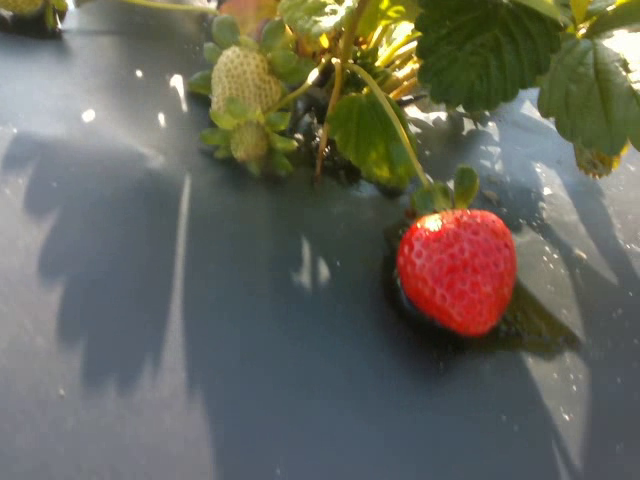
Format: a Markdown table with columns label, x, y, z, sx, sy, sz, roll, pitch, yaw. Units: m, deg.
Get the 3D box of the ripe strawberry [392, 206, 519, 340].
| label | x | y | z | sx | sy | sz | roll | pitch | yaw |
| --- | --- | --- | --- | --- | --- | --- | --- | --- | --- |
| ripe strawberry | 0.034 | 0.010 | 0.146 | 0.030 | 0.033 | 0.045 | -18 | 35 | 22 |
